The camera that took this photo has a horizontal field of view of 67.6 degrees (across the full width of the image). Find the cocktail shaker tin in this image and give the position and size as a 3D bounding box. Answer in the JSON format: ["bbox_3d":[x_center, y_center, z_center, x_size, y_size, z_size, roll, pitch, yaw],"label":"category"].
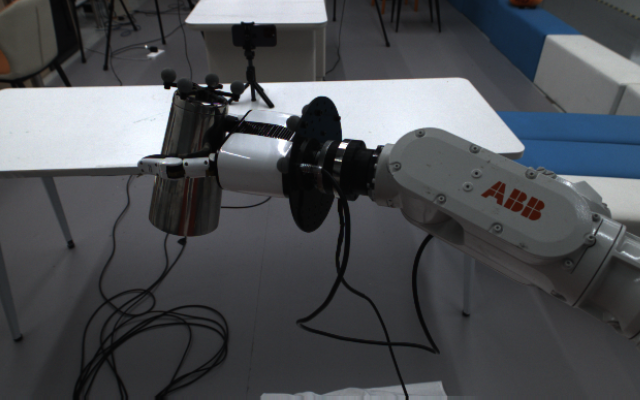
[{"bbox_3d":[-0.161,-0.051,0.617,0.093,0.170,0.093,12,24,-5],"label":"cocktail shaker tin"}]
